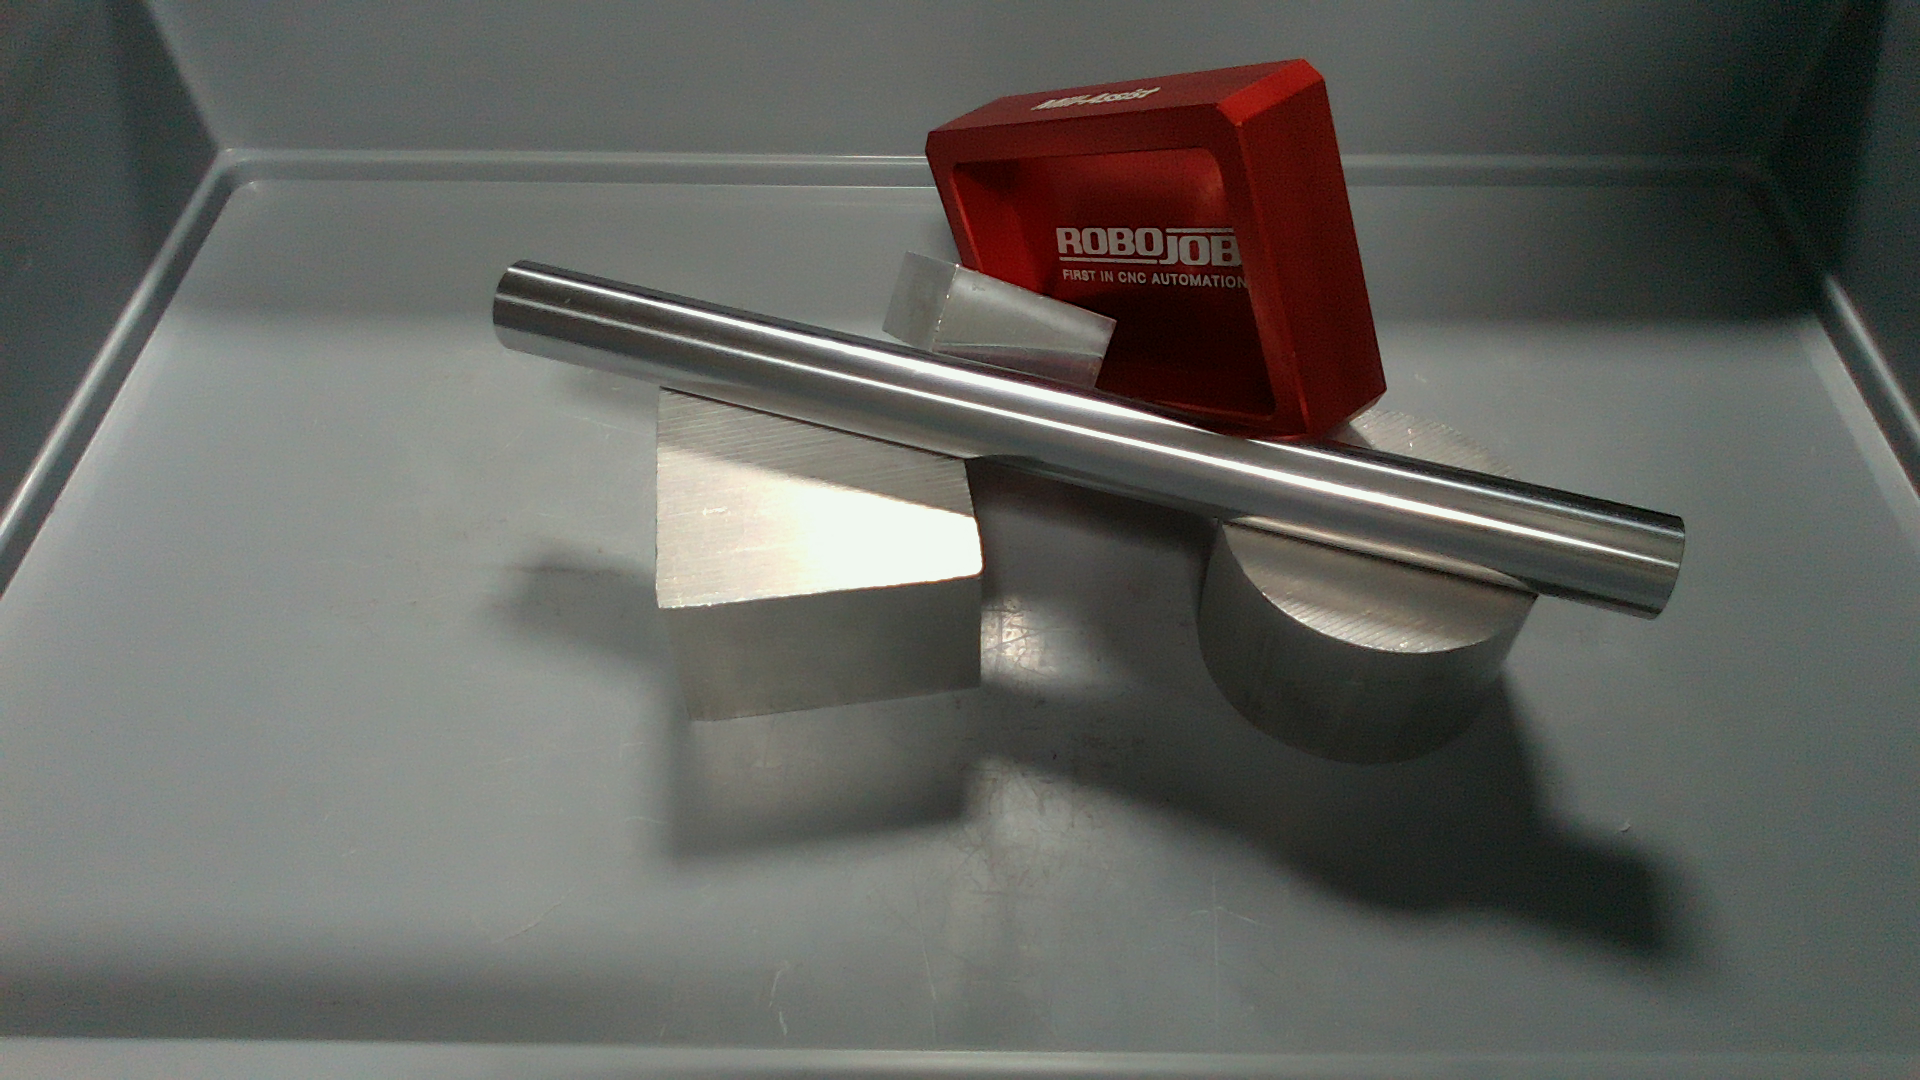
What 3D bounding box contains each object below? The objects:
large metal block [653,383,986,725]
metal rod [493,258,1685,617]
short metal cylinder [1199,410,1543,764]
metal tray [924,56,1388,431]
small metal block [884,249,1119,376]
[{"bbox_3d":[-0.039,-0.002,0.376,0.080,0.050,0.080,-6,50,-5],"label":"large metal block"},{"bbox_3d":[0.021,-0.030,0.349,0.299,0.025,0.025,14,51,12],"label":"metal rod"},{"bbox_3d":[0.107,0.012,0.364,0.080,0.050,0.080,0,50,0],"label":"short metal cylinder"},{"bbox_3d":[0.050,-0.078,0.381,0.030,0.090,0.129,-33,27,-25],"label":"metal tray"},{"bbox_3d":[0.010,-0.063,0.399,0.050,0.025,0.050,15,10,-22],"label":"small metal block"}]
